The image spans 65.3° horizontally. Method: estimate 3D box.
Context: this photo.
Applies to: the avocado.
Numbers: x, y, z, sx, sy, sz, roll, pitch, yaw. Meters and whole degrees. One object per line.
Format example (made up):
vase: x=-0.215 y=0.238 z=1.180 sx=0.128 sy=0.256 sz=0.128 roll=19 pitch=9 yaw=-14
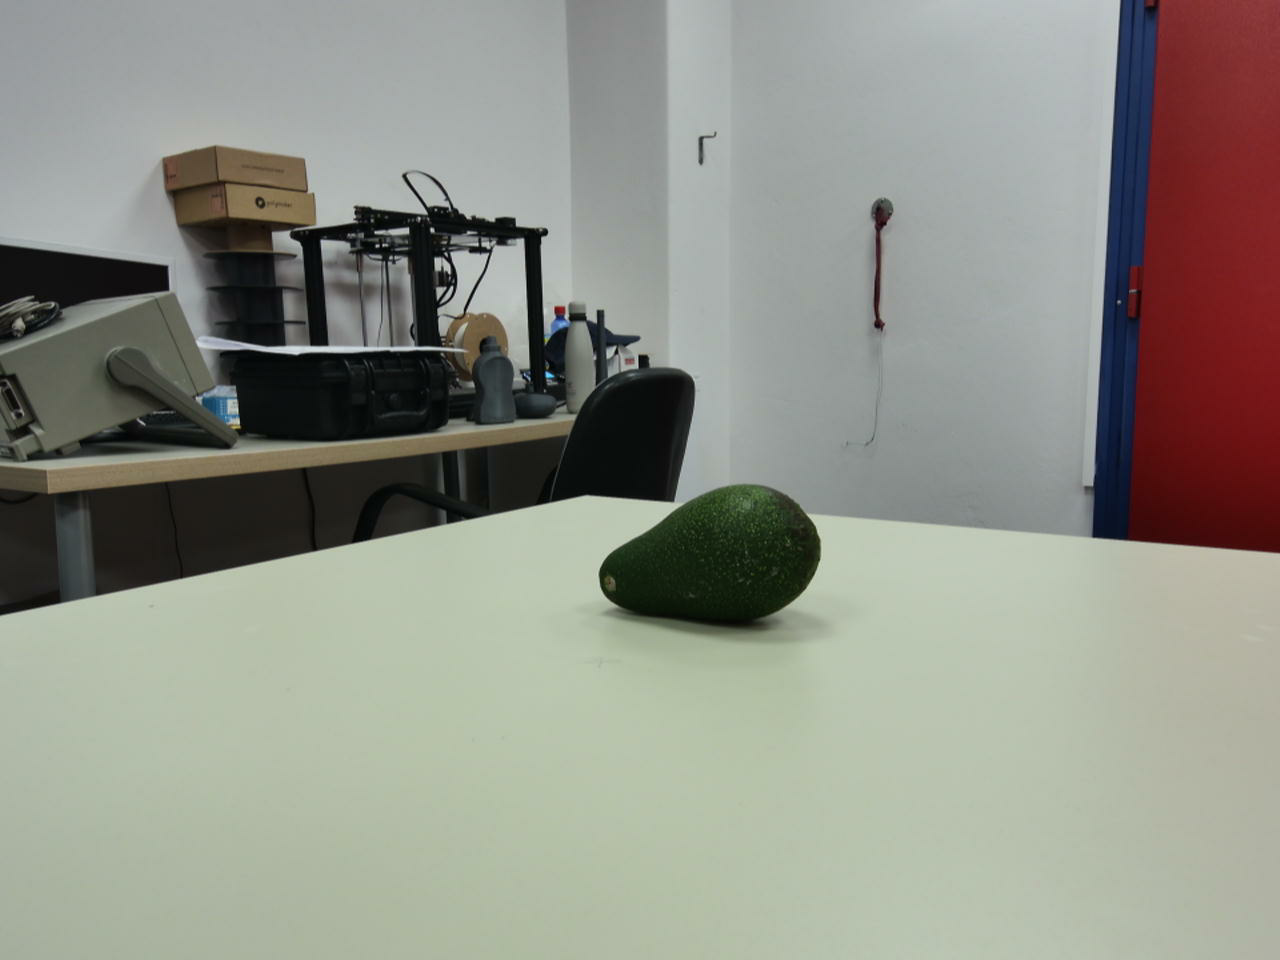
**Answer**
avocado: x=0.043 y=0.039 z=0.553 sx=0.123 sy=0.076 sz=0.074 roll=5 pitch=7 yaw=42
